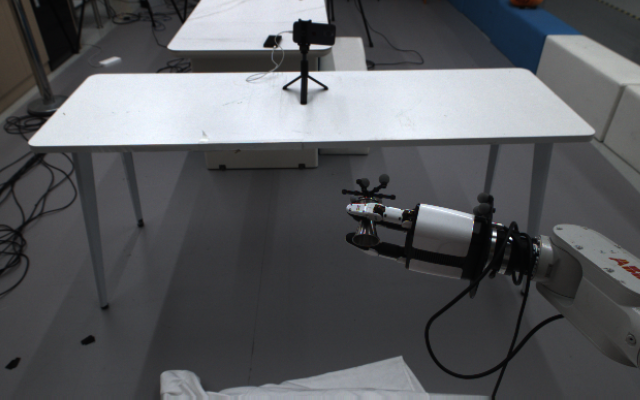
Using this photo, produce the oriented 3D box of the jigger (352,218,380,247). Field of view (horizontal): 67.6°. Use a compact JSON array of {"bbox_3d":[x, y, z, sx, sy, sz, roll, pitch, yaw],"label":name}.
[{"bbox_3d":[0.073,0.033,0.776,0.043,0.043,0.071,5,61,4],"label":"jigger"}]
